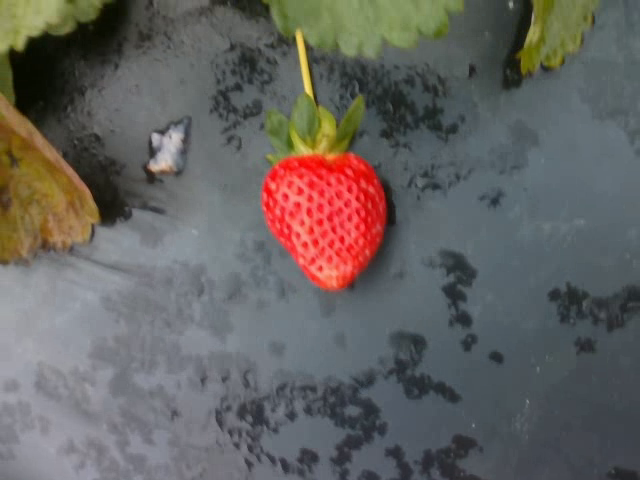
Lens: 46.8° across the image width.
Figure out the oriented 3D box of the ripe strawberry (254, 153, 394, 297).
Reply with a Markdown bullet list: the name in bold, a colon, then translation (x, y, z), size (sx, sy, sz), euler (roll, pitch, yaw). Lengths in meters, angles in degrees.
- **ripe strawberry**: translation (0.003, -0.006, 0.247), size (0.045, 0.054, 0.048), euler (-17, -33, 30)
